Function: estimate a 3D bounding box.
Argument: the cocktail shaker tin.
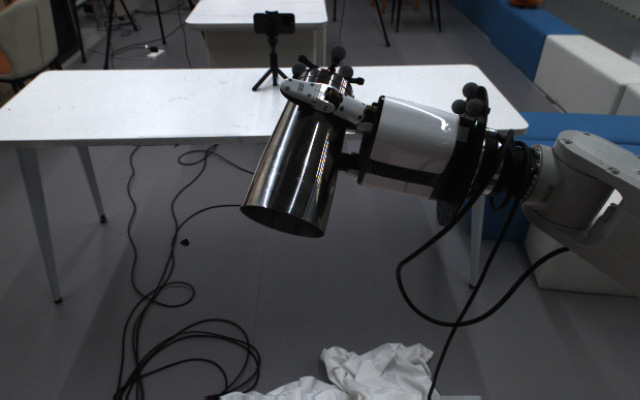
[{"bbox_3d":[-0.015,-0.056,0.531,0.093,0.093,0.170,12,72,14],"label":"cocktail shaker tin"}]
